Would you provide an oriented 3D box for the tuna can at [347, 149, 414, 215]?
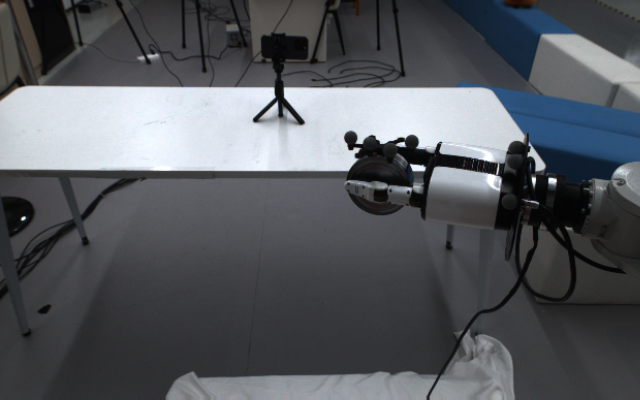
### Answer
[{"bbox_3d":[0.082,-0.028,0.645,0.085,0.085,0.034,13,29,16],"label":"tuna can"}]
